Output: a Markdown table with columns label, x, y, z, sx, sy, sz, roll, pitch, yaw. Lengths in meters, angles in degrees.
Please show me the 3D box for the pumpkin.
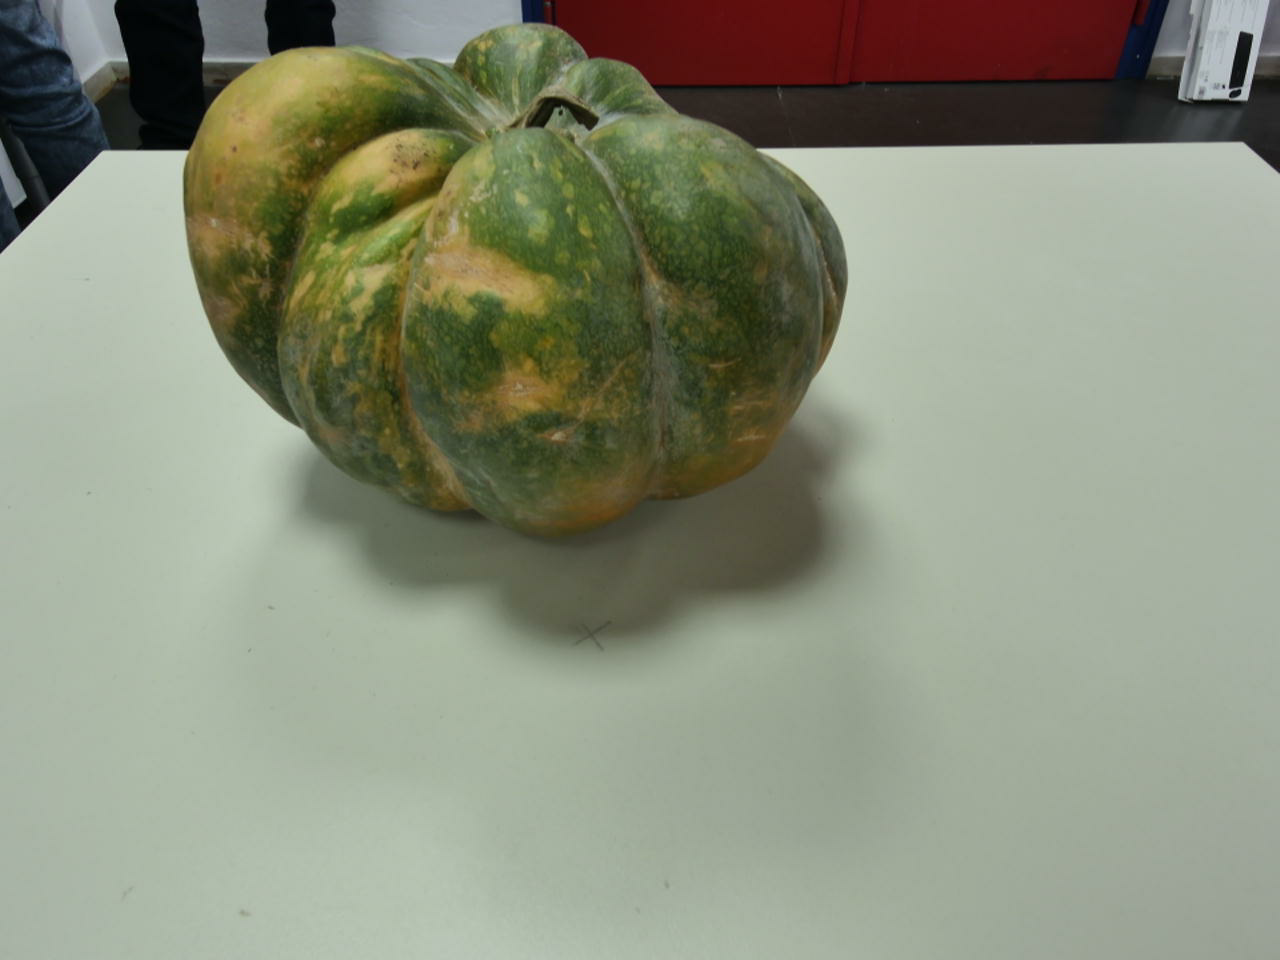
| label | x | y | z | sx | sy | sz | roll | pitch | yaw |
| --- | --- | --- | --- | --- | --- | --- | --- | --- | --- |
| pumpkin | -0.046 | -0.092 | 0.414 | 0.270 | 0.173 | 0.237 | 25 | 45 | 28 |
